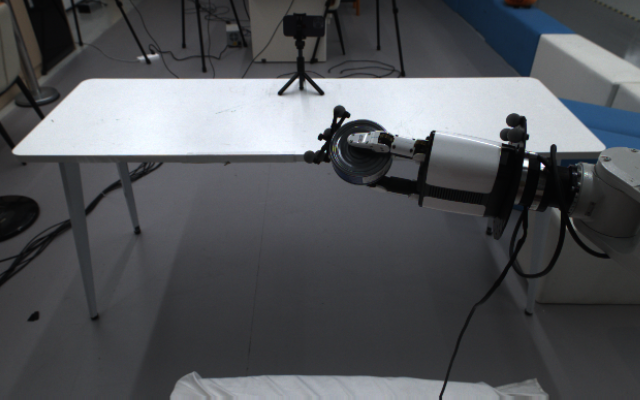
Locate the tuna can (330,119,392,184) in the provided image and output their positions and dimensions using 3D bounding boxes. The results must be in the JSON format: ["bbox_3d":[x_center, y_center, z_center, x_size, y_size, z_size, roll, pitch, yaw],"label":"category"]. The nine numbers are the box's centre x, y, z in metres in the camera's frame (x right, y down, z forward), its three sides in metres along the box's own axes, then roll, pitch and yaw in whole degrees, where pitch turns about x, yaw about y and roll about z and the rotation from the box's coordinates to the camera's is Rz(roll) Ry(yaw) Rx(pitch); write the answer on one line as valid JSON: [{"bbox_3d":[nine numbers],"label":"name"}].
[{"bbox_3d":[0.058,-0.067,0.660,0.085,0.034,0.085,-2,71,5],"label":"tuna can"}]
